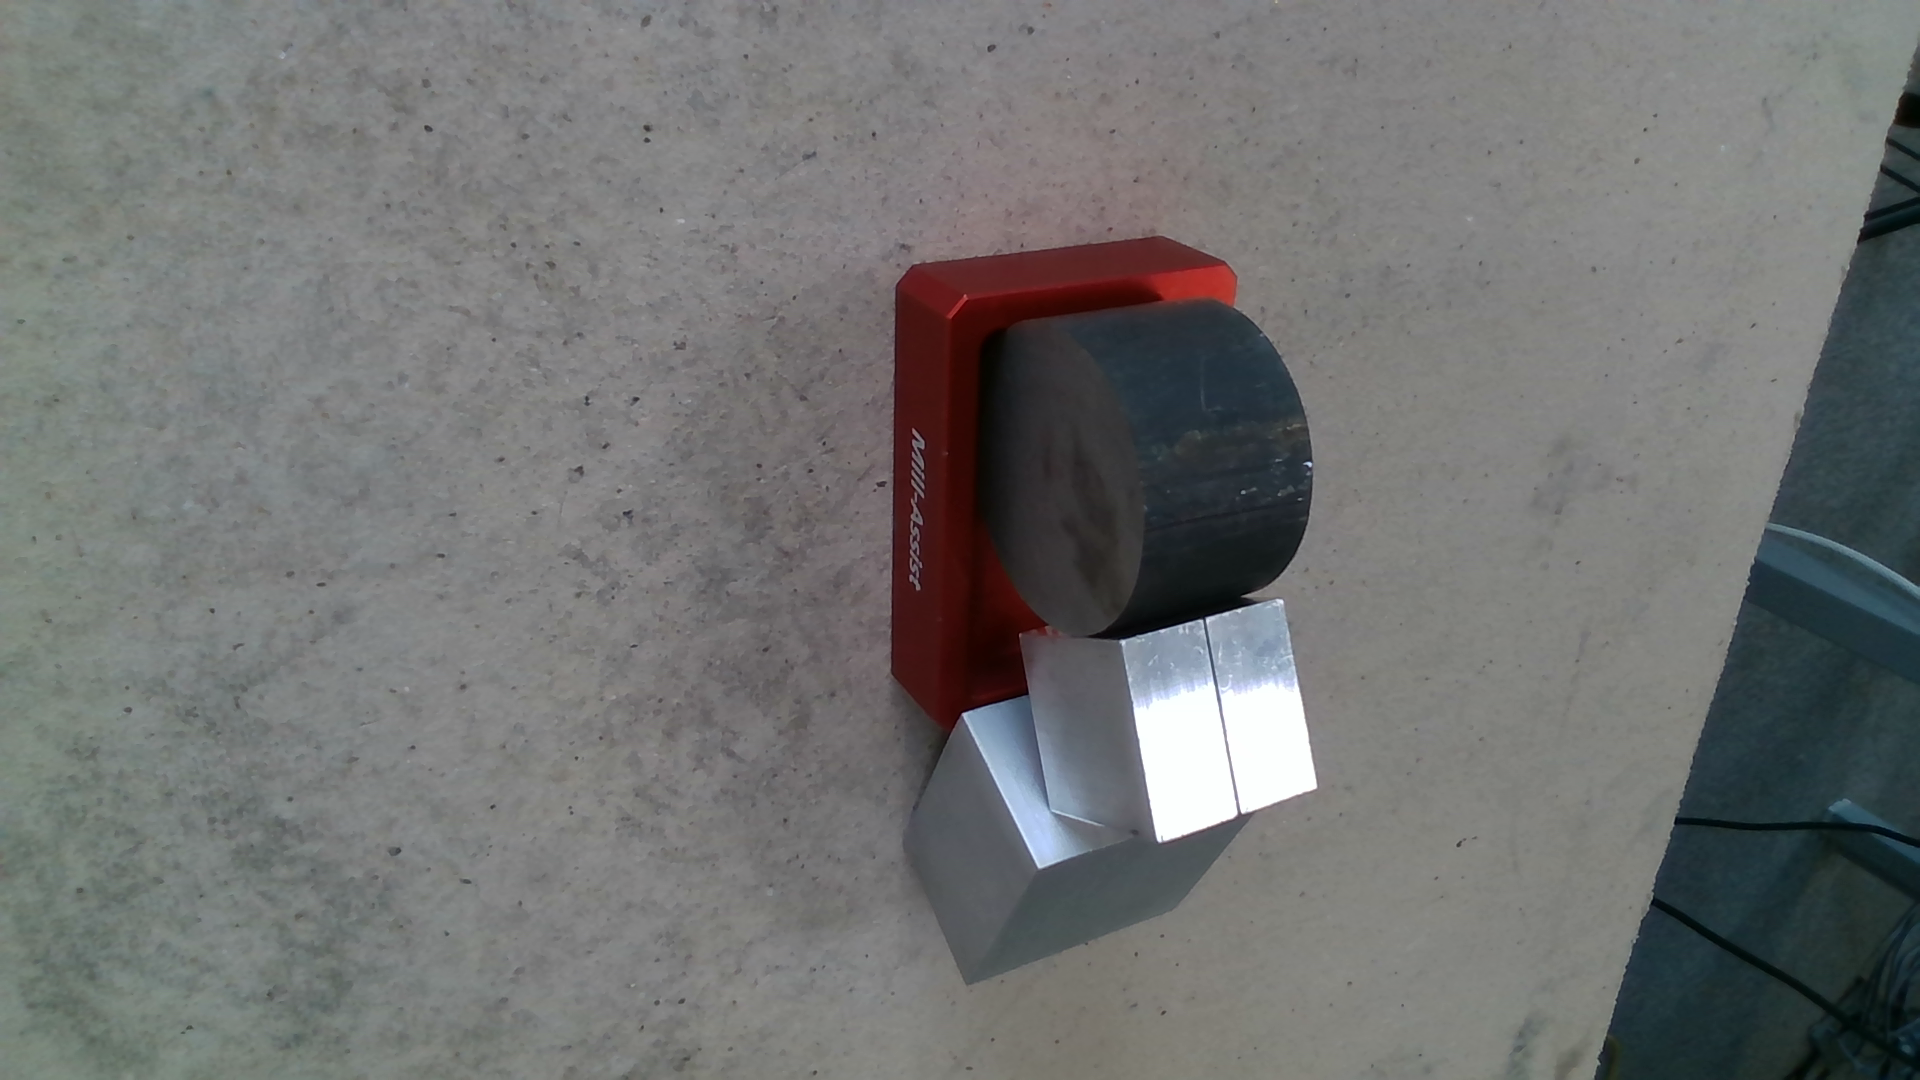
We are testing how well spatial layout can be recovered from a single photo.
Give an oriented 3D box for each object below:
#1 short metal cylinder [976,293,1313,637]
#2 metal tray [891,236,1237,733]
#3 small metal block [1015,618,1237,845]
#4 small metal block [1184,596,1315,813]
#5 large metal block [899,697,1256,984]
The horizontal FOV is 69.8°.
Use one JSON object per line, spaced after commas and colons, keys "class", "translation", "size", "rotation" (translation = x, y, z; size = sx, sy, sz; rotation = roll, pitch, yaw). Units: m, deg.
{"class": "short metal cylinder", "translation": [0.044, -0.020, 0.354], "size": [0.050, 0.080, 0.080], "rotation": [-14, 121, -25]}
{"class": "metal tray", "translation": [0.028, -0.016, 0.395], "size": [0.090, 0.030, 0.130], "rotation": [-12, 121, -26]}
{"class": "small metal block", "translation": [0.042, 0.047, 0.357], "size": [0.025, 0.050, 0.050], "rotation": [-13, 95, -27]}
{"class": "small metal block", "translation": [0.064, 0.042, 0.369], "size": [0.025, 0.050, 0.050], "rotation": [-13, 95, -27]}
{"class": "large metal block", "translation": [0.035, 0.086, 0.423], "size": [0.080, 0.050, 0.080], "rotation": [-11, 146, -26]}
